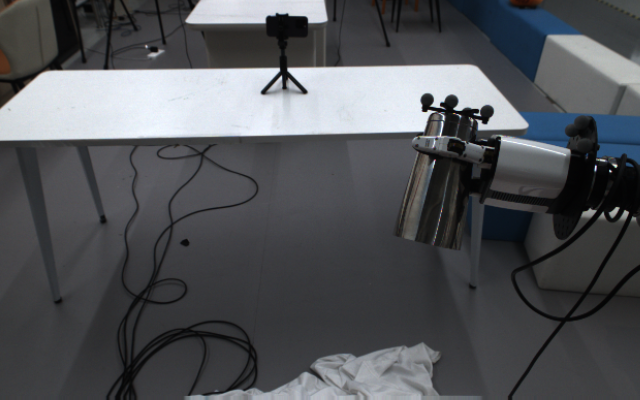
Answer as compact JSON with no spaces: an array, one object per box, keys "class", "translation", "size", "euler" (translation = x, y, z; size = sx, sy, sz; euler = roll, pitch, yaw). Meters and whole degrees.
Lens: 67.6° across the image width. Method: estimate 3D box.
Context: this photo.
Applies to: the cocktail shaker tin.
[{"class":"cocktail shaker tin","translation":[0.164,-0.029,0.653],"size":[0.093,0.170,0.093],"euler":[13,1,0]}]
